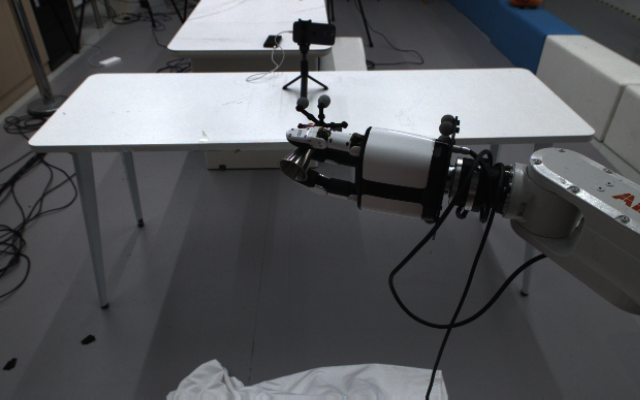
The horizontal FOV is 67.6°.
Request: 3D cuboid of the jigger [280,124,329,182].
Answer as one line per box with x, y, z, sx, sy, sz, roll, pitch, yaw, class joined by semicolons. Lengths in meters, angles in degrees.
-0.022;-0.069;0.651;0.043;0.043;0.071;19;61;23;jigger
